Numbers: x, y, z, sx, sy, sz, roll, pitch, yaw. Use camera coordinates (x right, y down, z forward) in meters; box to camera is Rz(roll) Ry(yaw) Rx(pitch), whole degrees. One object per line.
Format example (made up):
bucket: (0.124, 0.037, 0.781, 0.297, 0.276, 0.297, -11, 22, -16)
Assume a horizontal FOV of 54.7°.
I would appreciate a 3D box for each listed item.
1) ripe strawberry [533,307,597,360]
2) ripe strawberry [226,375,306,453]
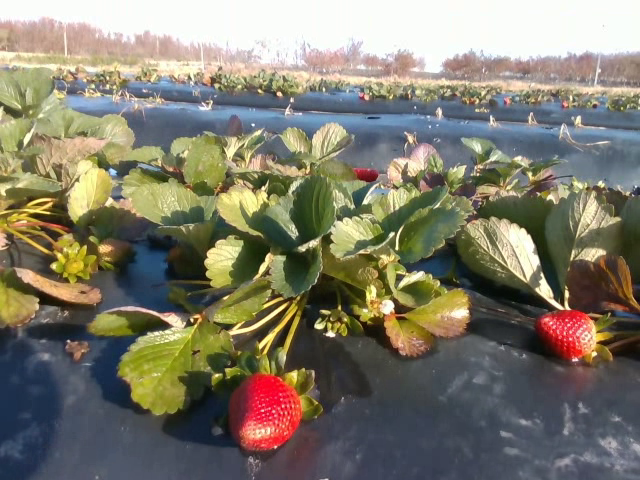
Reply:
ripe strawberry: (0.146, 0.053, 0.368, 0.046, 0.036, 0.035, 16, 37, -4)
ripe strawberry: (-0.029, 0.088, 0.303, 0.045, 0.042, 0.055, 17, 7, 5)
